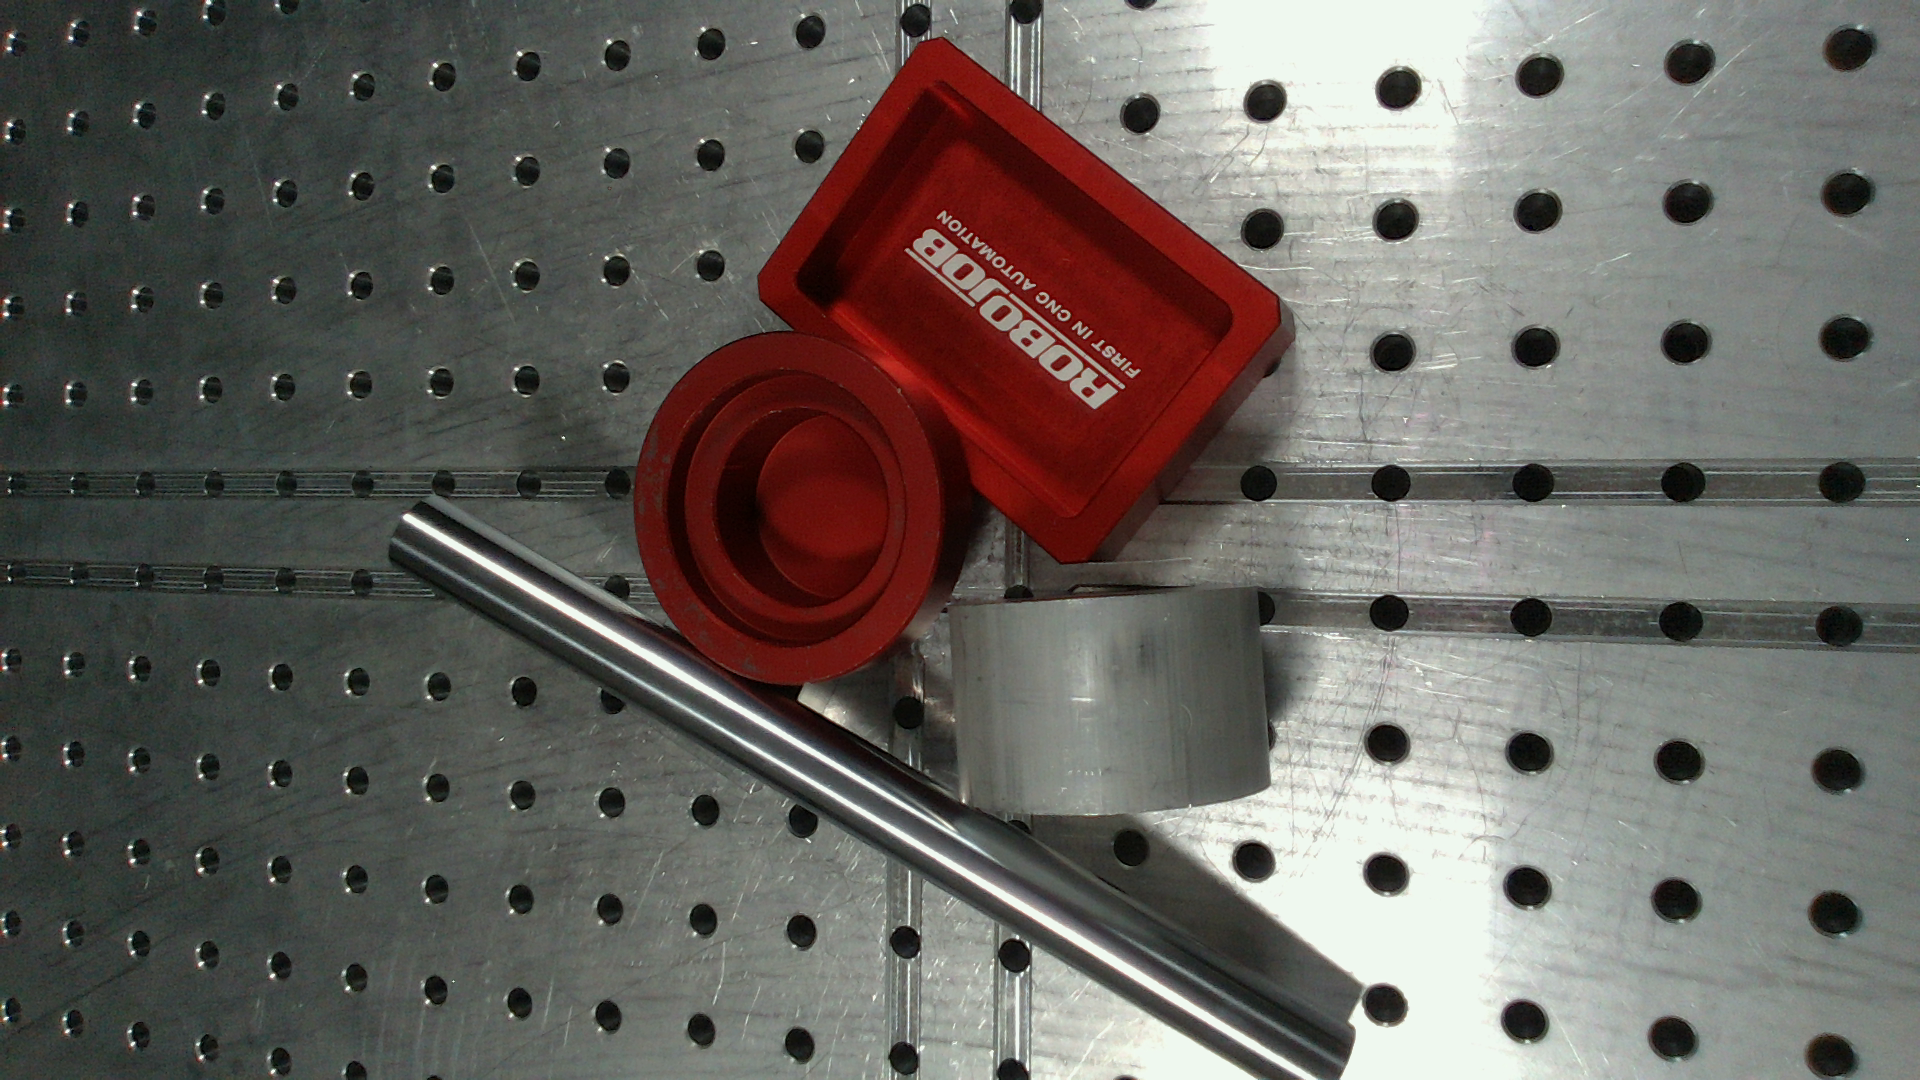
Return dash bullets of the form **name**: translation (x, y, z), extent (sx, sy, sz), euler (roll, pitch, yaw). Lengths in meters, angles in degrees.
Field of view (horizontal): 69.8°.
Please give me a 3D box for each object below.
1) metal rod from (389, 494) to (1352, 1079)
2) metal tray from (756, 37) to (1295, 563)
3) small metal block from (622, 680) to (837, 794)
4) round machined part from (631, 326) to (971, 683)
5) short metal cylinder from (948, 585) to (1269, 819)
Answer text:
- **metal rod**: translation (-0.032, 0.068, 0.388), extent (0.300, 0.025, 0.025), euler (29, 100, 9)
- **metal tray**: translation (0.016, -0.067, 0.389), extent (0.130, 0.030, 0.090), euler (42, 103, 15)
- **small metal block**: translation (-0.068, 0.042, 0.423), extent (0.050, 0.025, 0.050), euler (30, 100, 17)
- **round machined part**: translation (-0.042, -0.010, 0.396), extent (0.098, 0.042, 0.098), euler (0, 90, 22)
- **short metal cylinder**: translation (0.038, 0.039, 0.354), extent (0.080, 0.080, 0.050), euler (-4, 89, 20)
